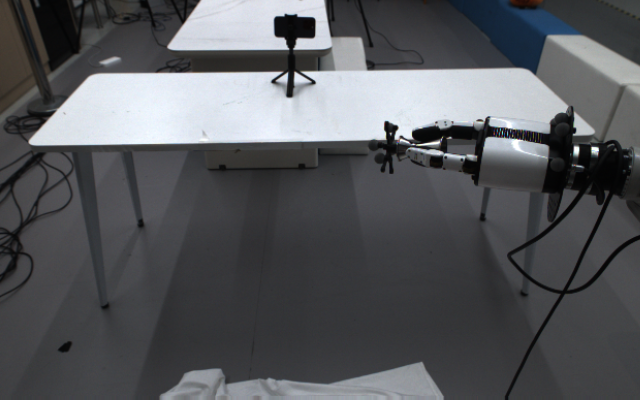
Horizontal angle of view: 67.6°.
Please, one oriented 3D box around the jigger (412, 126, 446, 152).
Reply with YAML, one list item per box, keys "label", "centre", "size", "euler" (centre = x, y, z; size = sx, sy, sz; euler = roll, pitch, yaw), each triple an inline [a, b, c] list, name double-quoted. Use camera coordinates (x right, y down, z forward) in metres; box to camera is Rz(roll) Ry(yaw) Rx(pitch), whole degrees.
- label: "jigger"
  centre: [0.161, -0.084, 0.733]
  size: [0.071, 0.043, 0.043]
  euler: [4, 32, 27]
